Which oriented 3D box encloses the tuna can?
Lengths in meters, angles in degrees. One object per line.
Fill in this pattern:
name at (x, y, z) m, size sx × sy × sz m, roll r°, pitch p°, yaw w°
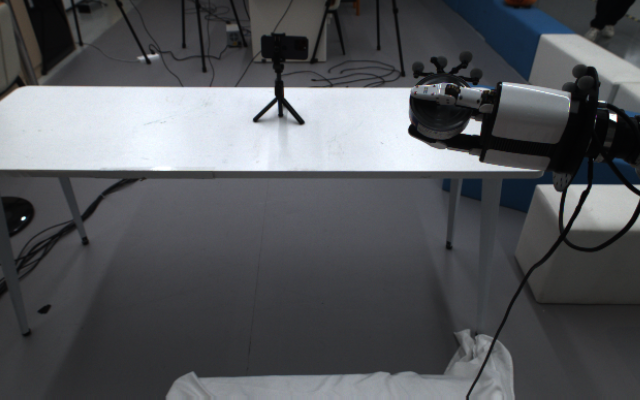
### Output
tuna can at (0.163, -0.130, 0.657) m, size 0.085 × 0.034 × 0.085 m, roll -2°, pitch 70°, yaw 7°
